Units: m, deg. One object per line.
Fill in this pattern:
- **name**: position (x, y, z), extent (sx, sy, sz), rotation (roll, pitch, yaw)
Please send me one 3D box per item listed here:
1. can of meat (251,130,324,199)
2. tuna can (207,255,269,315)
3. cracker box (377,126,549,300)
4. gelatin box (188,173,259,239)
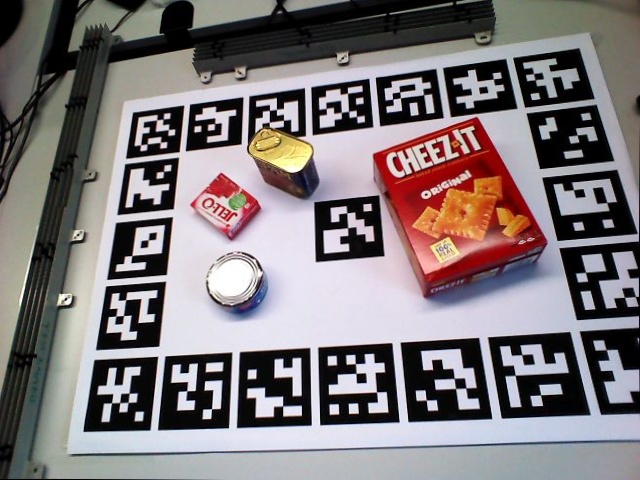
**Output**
- **can of meat**: position (-0.048, -0.117, 0.817), extent (0.102, 0.084, 0.057), rotation (23, 71, 22)
- **tuna can**: position (-0.120, 0.067, 0.761), extent (0.086, 0.034, 0.085), rotation (-5, 67, 11)
- **cracker box**: position (0.194, -0.044, 0.736), extent (0.164, 0.072, 0.213), rotation (-20, 61, 0)
- **gelatin box**: position (-0.155, -0.056, 0.832), extent (0.089, 0.030, 0.073), rotation (36, 73, 21)
